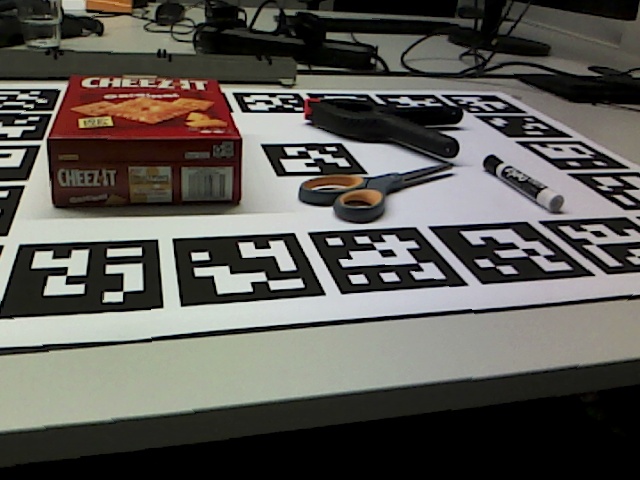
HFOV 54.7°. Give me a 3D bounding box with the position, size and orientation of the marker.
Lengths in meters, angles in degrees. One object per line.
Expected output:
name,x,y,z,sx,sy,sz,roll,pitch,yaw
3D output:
marker,0.213,-0.069,0.678,0.019,0.019,0.122,-6,29,-20

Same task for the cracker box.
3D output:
cracker box,-0.167,-0.108,0.631,0.163,0.072,0.215,-3,29,-16

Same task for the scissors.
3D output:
scissors,0.076,-0.062,0.641,0.088,0.016,0.201,27,32,36

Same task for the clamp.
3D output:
clamp,0.069,-0.149,0.816,0.203,0.036,0.165,11,27,10
